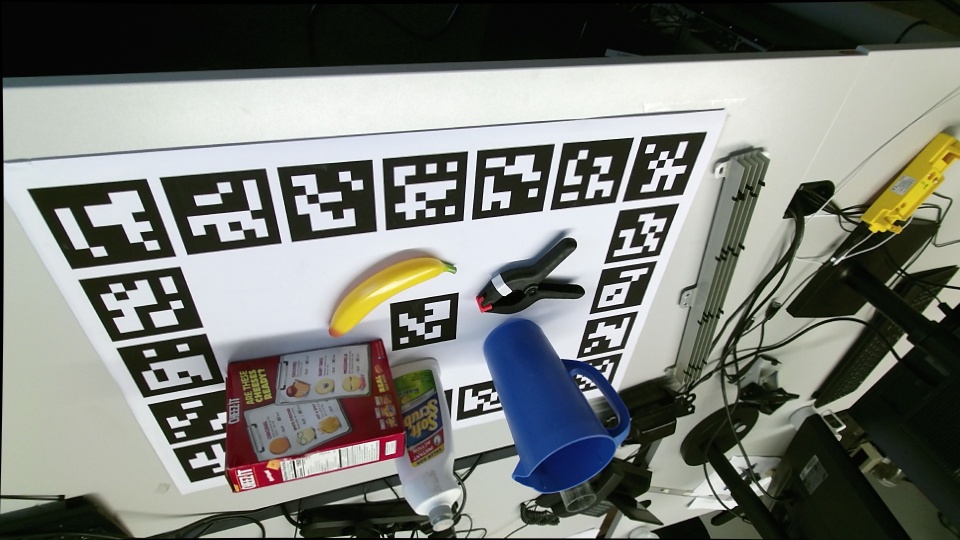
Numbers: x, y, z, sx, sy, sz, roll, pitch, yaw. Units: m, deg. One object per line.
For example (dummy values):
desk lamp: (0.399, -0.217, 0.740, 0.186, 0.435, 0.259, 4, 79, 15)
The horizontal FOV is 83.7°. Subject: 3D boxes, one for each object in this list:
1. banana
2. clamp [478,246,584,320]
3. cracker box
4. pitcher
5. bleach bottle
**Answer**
banana: (-0.132, 0.041, 0.743, 0.198, 0.038, 0.074, -33, 135, 7)
clamp: (0.078, 0.034, 0.817, 0.165, 0.036, 0.122, -19, 136, -4)
cracker box: (-0.221, 0.202, 0.729, 0.214, 0.163, 0.072, -8, 135, -19)
pitcher: (0.116, 0.211, 0.818, 0.189, 0.241, 0.133, -21, 135, -2)
bleach bottle: (-0.072, 0.255, 0.803, 0.103, 0.249, 0.068, -9, 133, -17)
